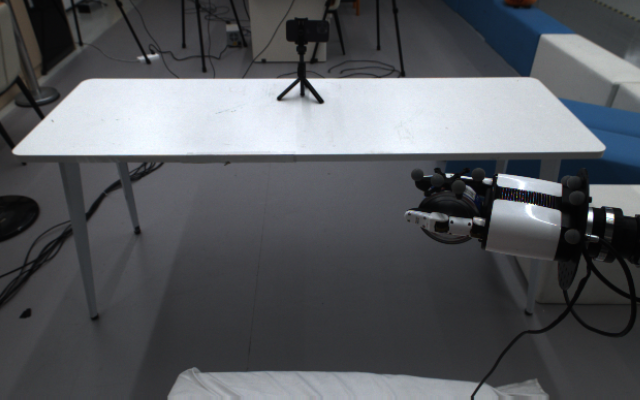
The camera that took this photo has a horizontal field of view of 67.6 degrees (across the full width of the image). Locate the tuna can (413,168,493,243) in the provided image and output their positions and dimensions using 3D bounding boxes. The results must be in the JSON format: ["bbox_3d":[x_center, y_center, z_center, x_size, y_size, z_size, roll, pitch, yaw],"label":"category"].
[{"bbox_3d":[0.183,0.016,0.672,0.085,0.085,0.034,15,35,17],"label":"tuna can"}]
